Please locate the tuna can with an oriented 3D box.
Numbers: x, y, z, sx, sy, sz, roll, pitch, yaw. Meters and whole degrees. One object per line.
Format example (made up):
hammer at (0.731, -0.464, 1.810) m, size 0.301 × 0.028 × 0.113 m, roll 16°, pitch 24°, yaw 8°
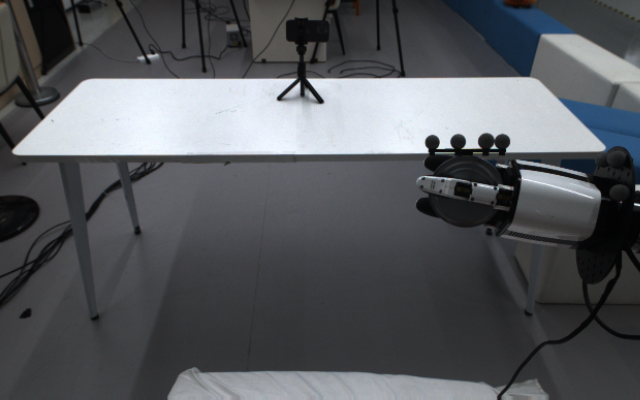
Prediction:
tuna can at (0.177, -0.012, 0.586) m, size 0.085 × 0.085 × 0.034 m, roll 12°, pitch 8°, yaw 14°
